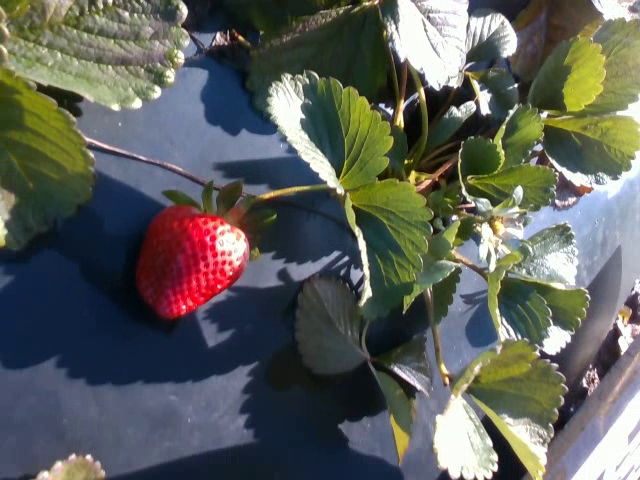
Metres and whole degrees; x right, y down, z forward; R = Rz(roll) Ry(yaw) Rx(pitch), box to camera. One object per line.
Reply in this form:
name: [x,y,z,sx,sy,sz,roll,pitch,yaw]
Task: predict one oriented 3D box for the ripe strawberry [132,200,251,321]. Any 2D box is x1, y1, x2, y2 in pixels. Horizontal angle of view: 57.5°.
ripe strawberry: [-0.048,0.009,0.211,0.044,0.056,0.042,9,-34,26]
